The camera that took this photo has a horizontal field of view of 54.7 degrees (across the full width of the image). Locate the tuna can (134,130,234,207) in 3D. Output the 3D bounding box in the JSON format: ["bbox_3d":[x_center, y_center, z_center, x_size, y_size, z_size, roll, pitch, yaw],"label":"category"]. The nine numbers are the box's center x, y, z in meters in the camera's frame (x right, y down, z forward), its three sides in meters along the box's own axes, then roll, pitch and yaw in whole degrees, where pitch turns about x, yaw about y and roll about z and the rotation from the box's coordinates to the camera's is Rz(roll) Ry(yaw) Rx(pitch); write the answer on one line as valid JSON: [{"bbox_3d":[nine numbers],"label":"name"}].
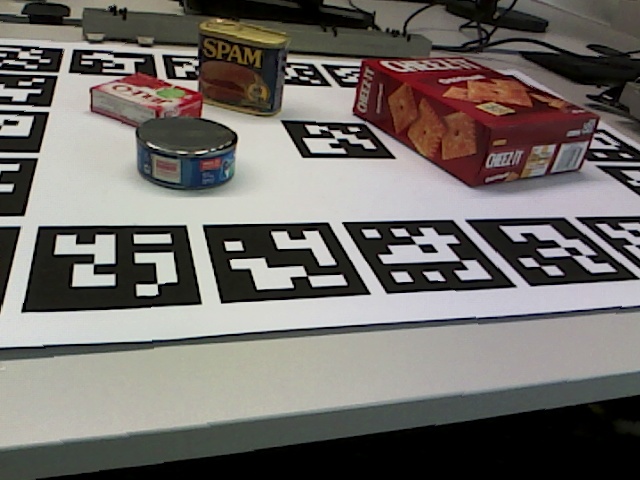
[{"bbox_3d":[-0.120,-0.064,0.550,0.085,0.033,0.086,6,34,-4],"label":"tuna can"}]

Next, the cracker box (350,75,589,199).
[{"bbox_3d":[0.164,-0.128,0.706,0.163,0.072,0.215,-11,34,-32],"label":"cracker box"}]

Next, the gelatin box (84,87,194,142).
[{"bbox_3d":[-0.192,-0.134,0.659,0.090,0.030,0.073,22,30,17],"label":"gelatin box"}]

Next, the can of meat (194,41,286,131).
[{"bbox_3d":[-0.095,-0.178,0.720,0.102,0.083,0.058,13,30,10],"label":"can of meat"}]
